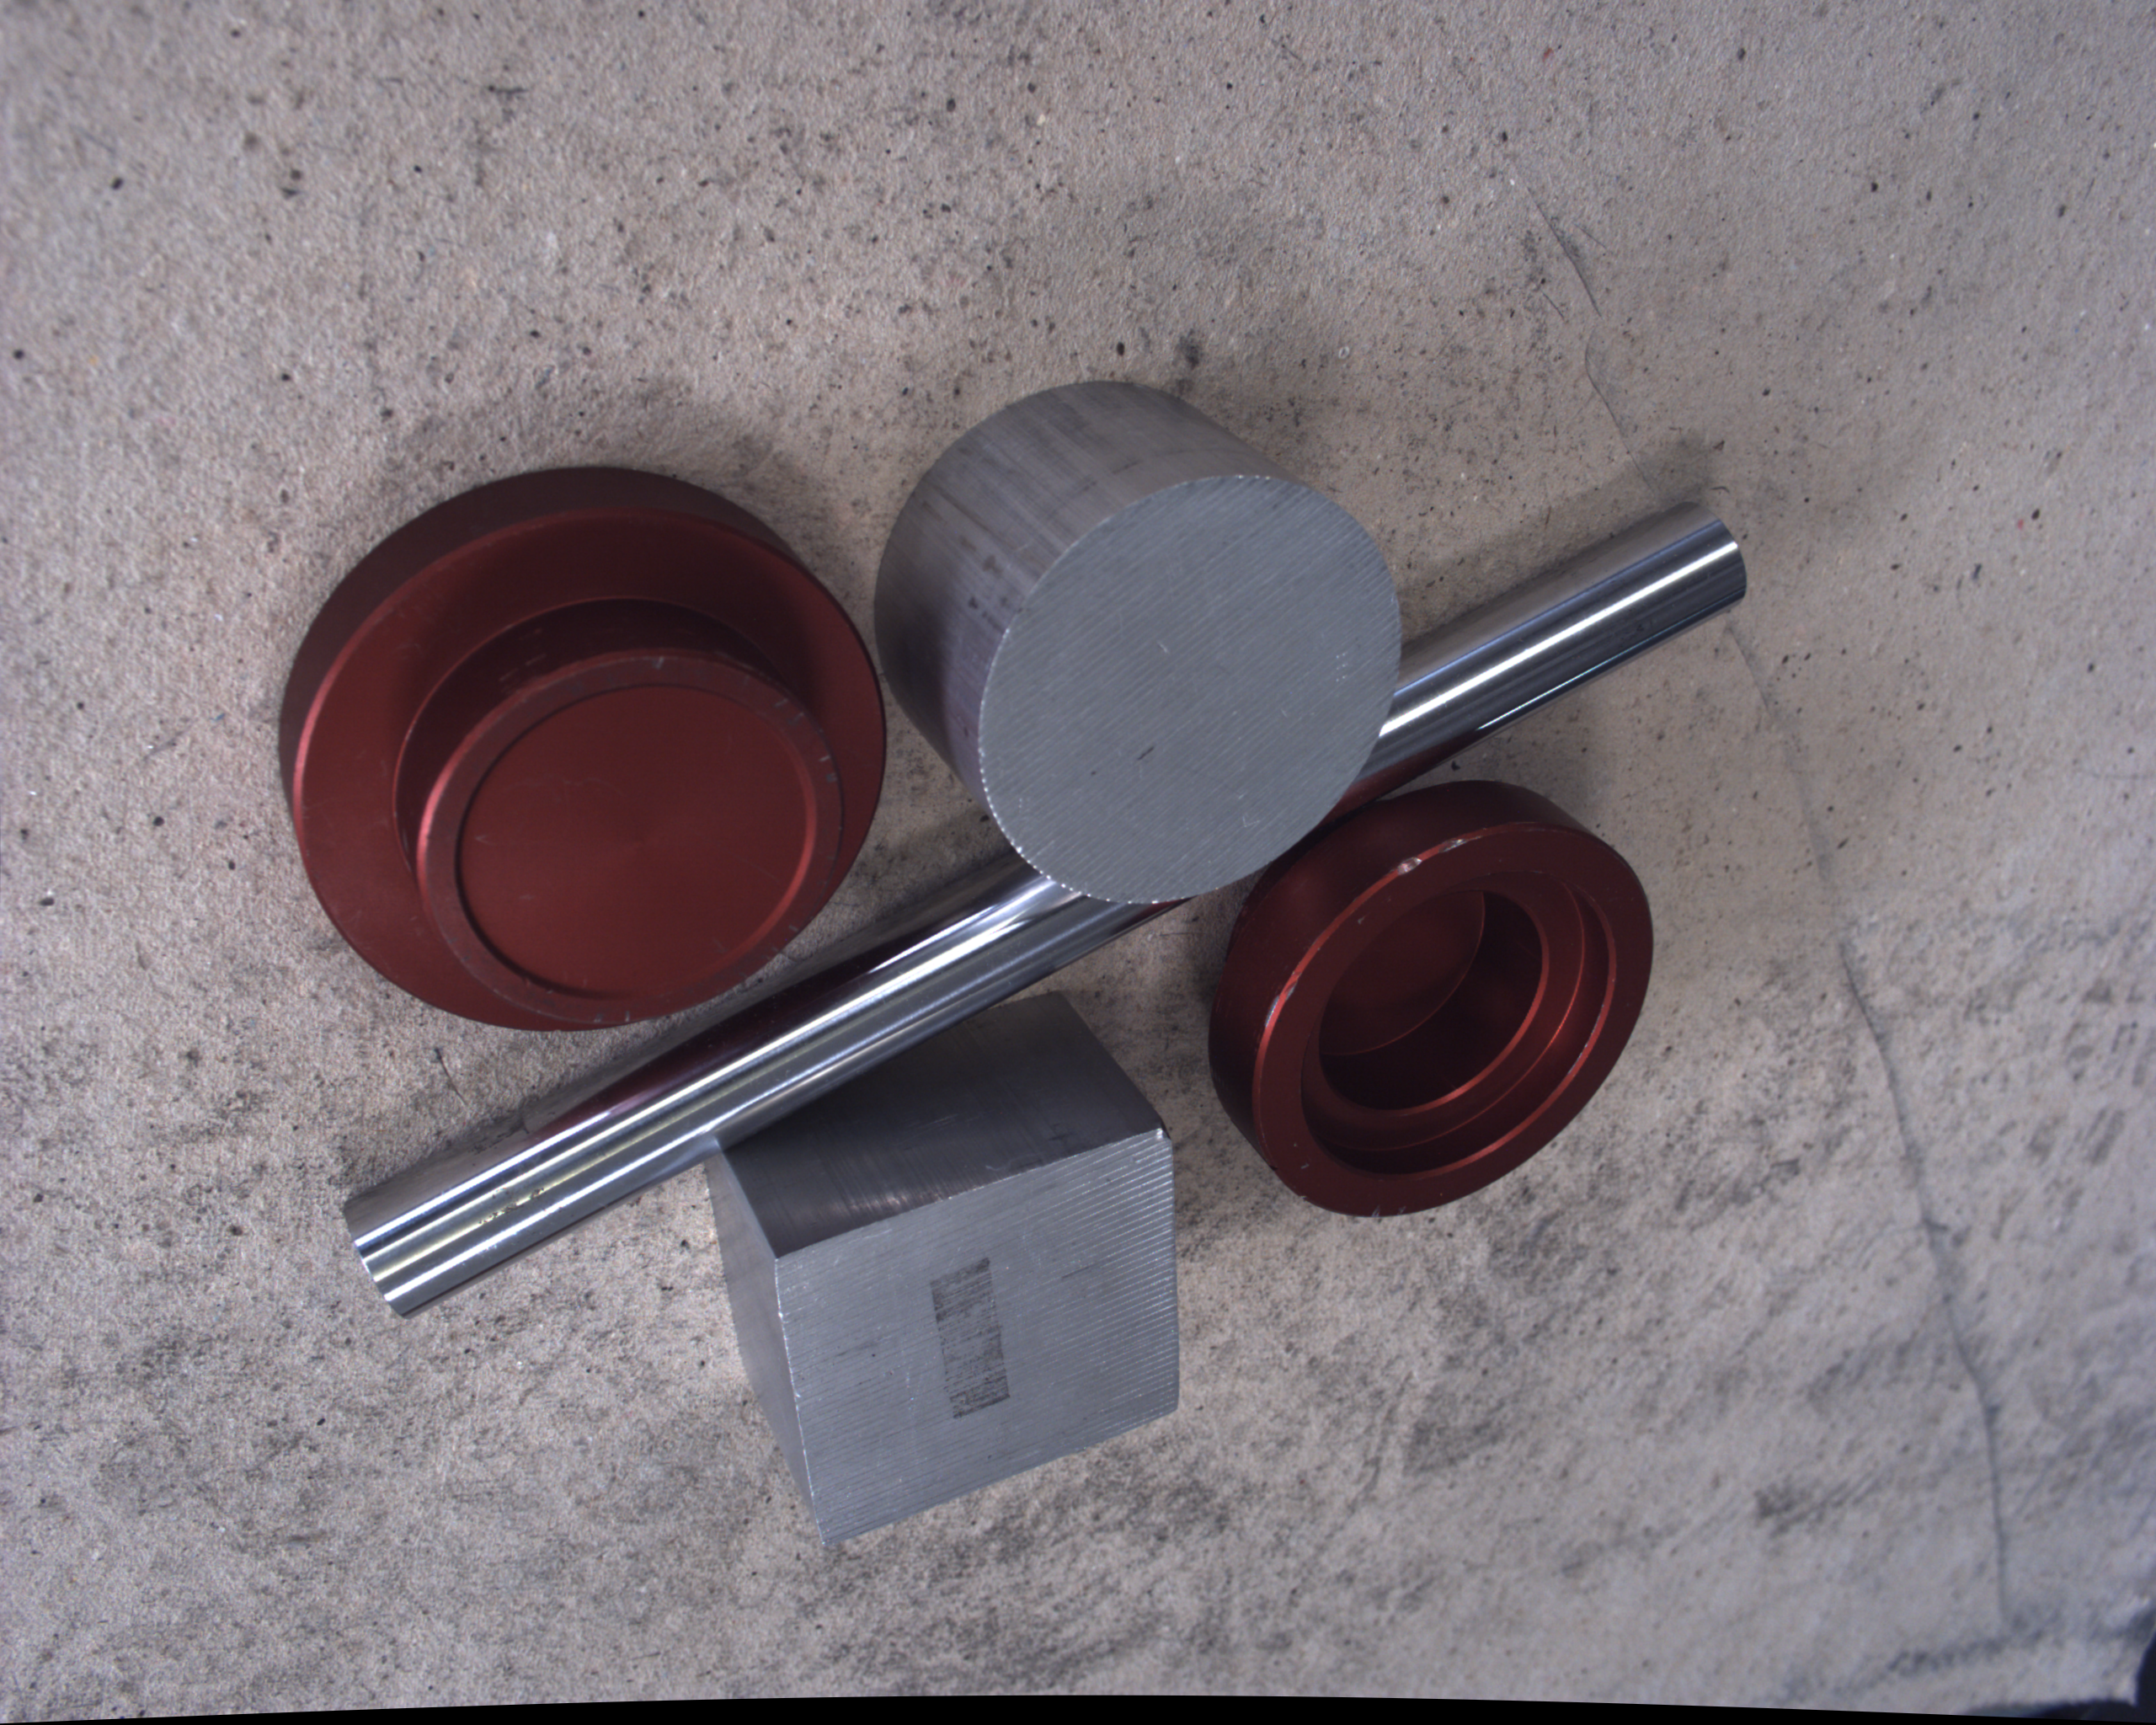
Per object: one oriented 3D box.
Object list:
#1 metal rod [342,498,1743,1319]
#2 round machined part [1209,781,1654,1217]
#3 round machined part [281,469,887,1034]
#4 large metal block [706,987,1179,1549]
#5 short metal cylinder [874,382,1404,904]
[{"bbox_3d":[0.002,0.004,0.413,0.302,0.025,0.025,-28,128,-11],"label":"metal rod"},{"bbox_3d":[0.072,0.025,0.452,0.099,0.042,0.097,-14,124,-21],"label":"round machined part"},{"bbox_3d":[-0.078,-0.012,0.347,0.099,0.042,0.097,-14,124,-21],"label":"round machined part"},{"bbox_3d":[-0.027,0.082,0.429,0.081,0.050,0.079,-16,125,-19],"label":"large metal block"},{"bbox_3d":[0.010,-0.039,0.373,0.081,0.050,0.079,-14,124,-21],"label":"short metal cylinder"}]
